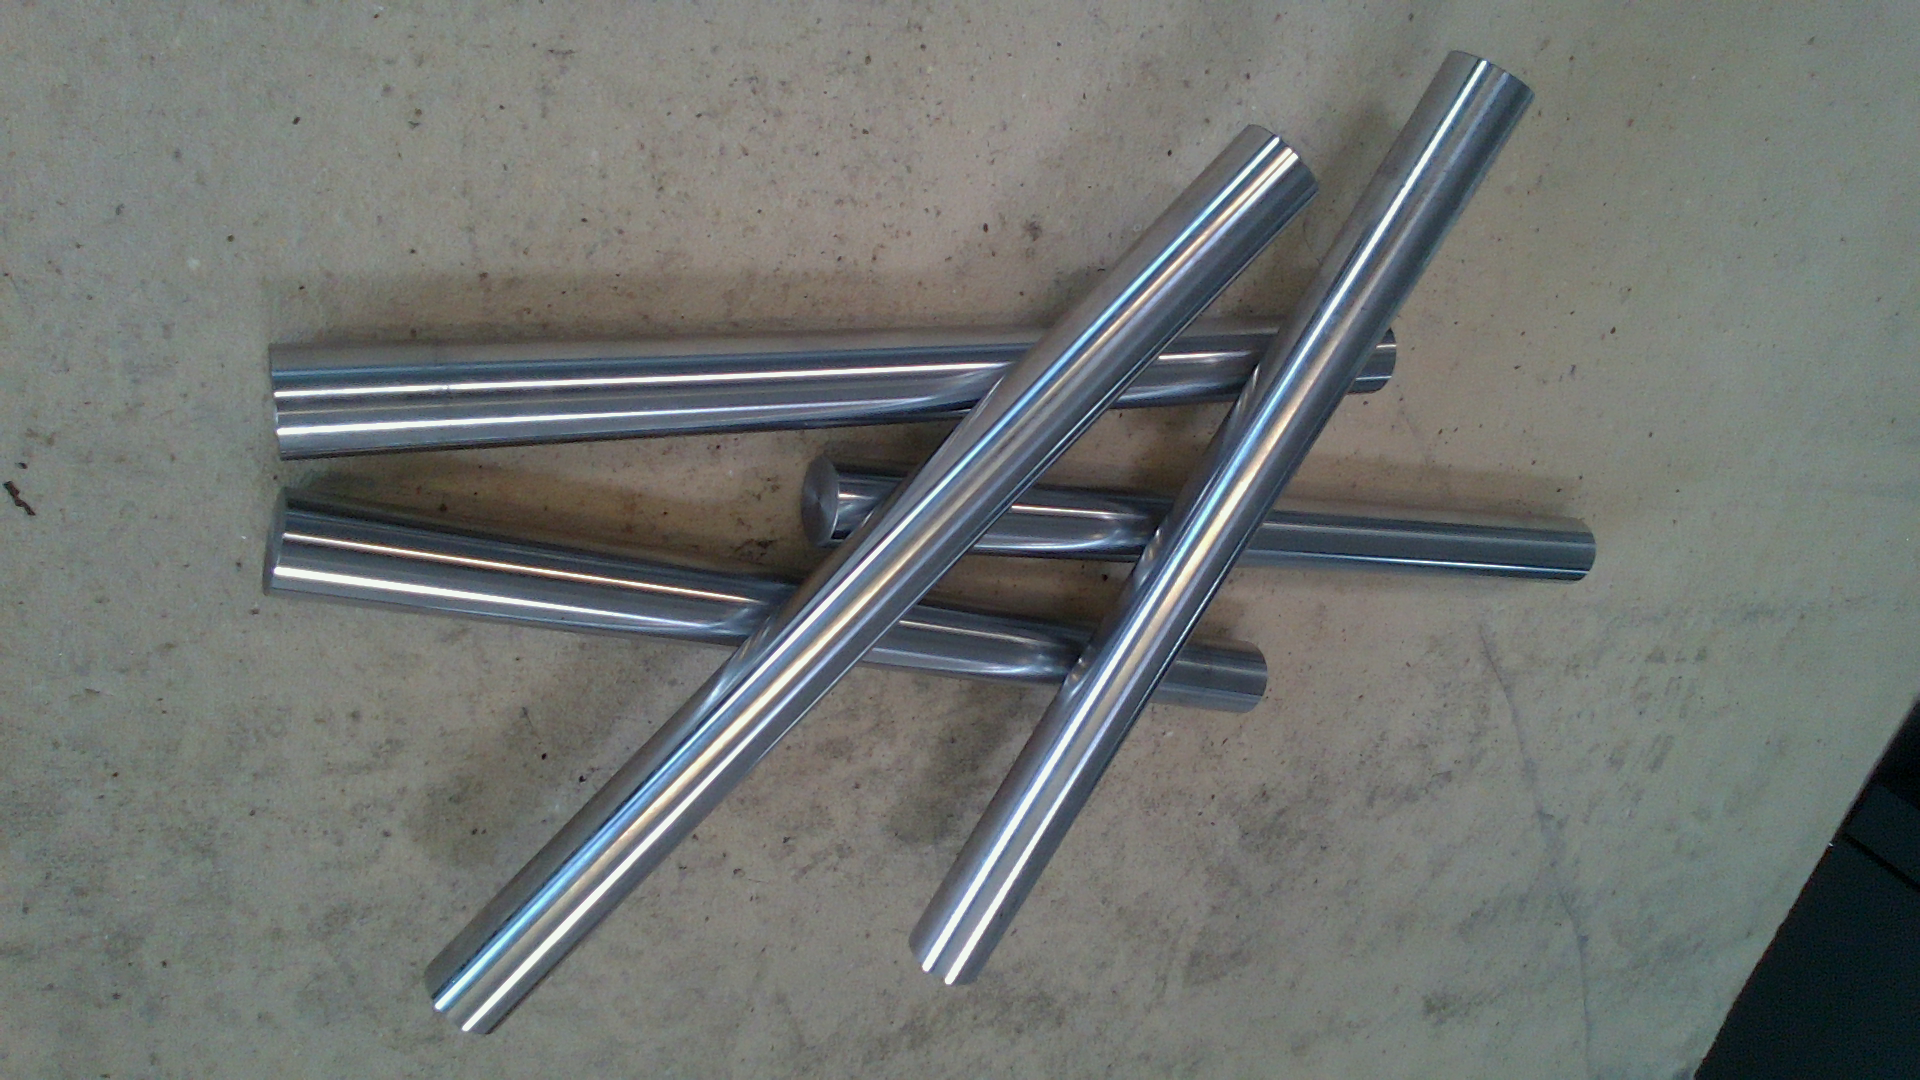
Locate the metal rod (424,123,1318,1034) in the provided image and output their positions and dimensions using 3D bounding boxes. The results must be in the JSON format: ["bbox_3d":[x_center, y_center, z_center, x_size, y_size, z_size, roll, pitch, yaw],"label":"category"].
[{"bbox_3d":[-0.025,0.012,0.351,0.300,0.025,0.025,-46,129,3],"label":"metal rod"}]

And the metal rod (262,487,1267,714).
[{"bbox_3d":[-0.029,0.024,0.388,0.301,0.025,0.025,11,113,-33],"label":"metal rod"}]

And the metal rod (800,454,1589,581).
[{"bbox_3d":[0.093,-0.003,0.438,0.301,0.025,0.025,3,117,-30],"label":"metal rod"}]

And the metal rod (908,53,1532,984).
[{"bbox_3d":[0.066,0.006,0.396,0.025,0.025,0.300,19,108,-35],"label":"metal rod"}]

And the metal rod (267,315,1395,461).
[{"bbox_3d":[-0.011,-0.043,0.357,0.301,0.025,0.025,-6,121,-25],"label":"metal rod"}]
